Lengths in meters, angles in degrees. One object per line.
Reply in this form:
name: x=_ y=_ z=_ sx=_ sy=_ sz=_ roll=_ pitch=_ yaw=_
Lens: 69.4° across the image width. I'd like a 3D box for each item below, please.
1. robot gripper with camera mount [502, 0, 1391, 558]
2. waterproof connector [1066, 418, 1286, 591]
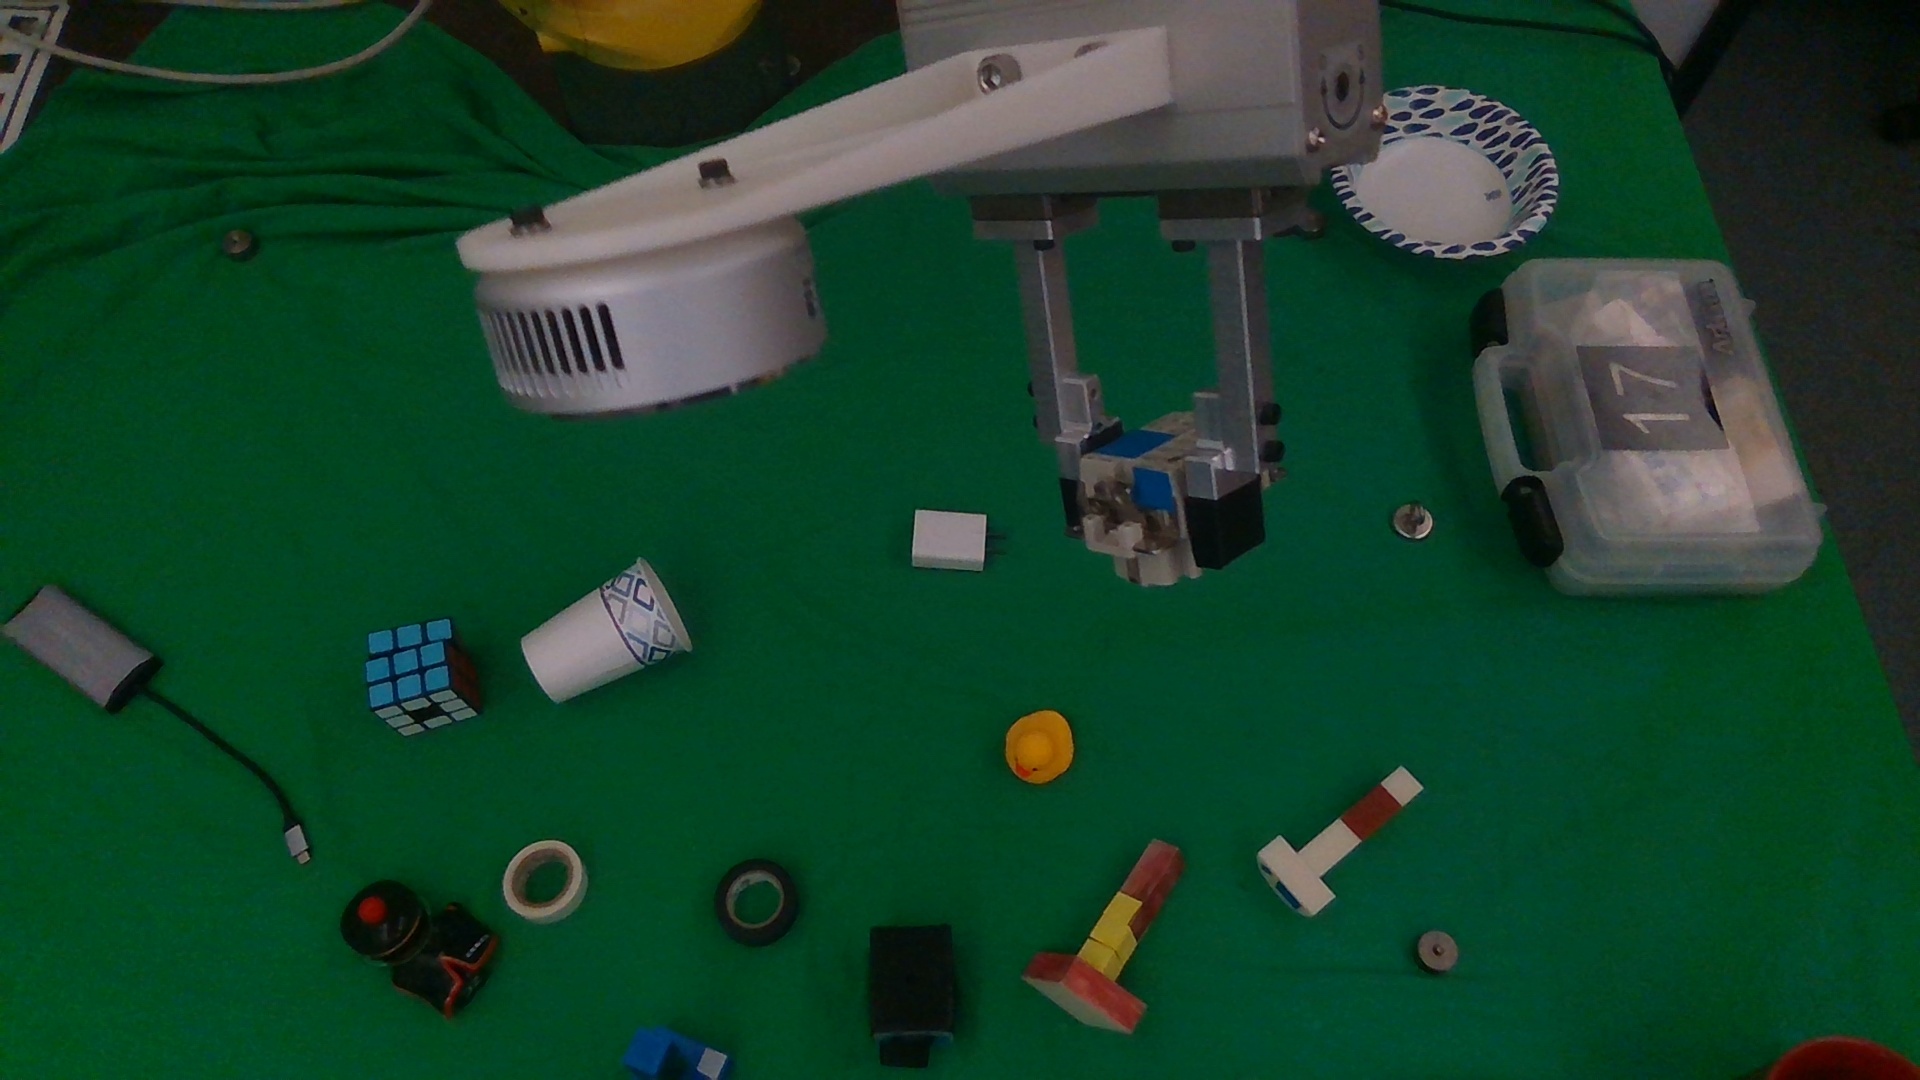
robot gripper with camera mount: x=0.000 y=-0.041 z=0.308 sx=0.119 sy=0.158 sz=0.193 roll=12 pitch=32 yaw=38
waterproof connector: x=0.062 y=-0.011 z=0.394 sx=0.035 sy=0.037 sz=0.065 roll=8 pitch=28 yaw=44
